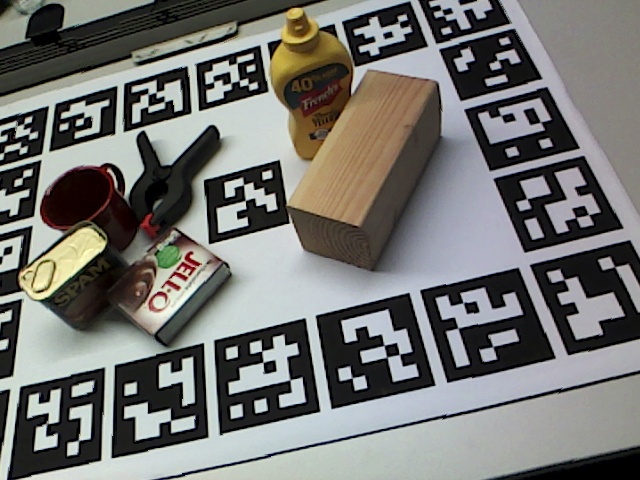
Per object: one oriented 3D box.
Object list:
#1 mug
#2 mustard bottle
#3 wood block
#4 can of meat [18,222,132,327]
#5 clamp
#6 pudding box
[{"bbox_3d":[-0.271,-0.034,0.786,0.093,0.081,0.117,5,62,17],"label":"mug"},{"bbox_3d":[-0.007,-0.179,0.714,0.096,0.190,0.059,-18,57,3],"label":"mustard bottle"},{"bbox_3d":[0.060,-0.075,0.697,0.090,0.090,0.206,19,63,26],"label":"wood block"},{"bbox_3d":[-0.272,0.042,0.703,0.102,0.083,0.058,-40,59,-11],"label":"can of meat"},{"bbox_3d":[-0.196,-0.084,0.803,0.122,0.036,0.165,3,61,15],"label":"clamp"},{"bbox_3d":[-0.168,0.051,0.704,0.090,0.038,0.113,33,70,29],"label":"pudding box"}]
